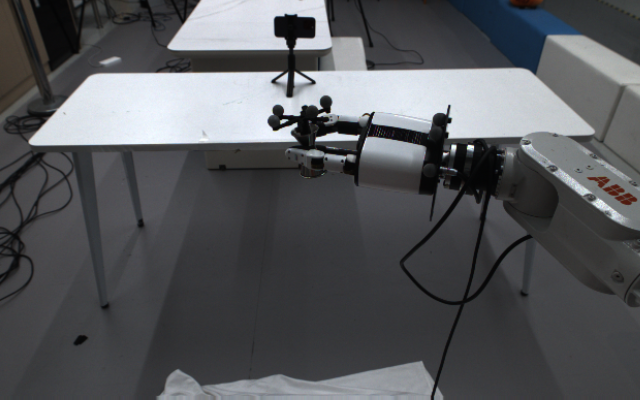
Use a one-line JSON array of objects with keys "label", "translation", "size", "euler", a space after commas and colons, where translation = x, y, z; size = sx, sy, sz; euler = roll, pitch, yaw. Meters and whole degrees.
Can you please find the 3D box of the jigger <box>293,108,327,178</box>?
[{"label": "jigger", "translation": [-0.015, -0.071, 0.700], "size": [0.043, 0.071, 0.043], "euler": [-10, 32, 6]}]
